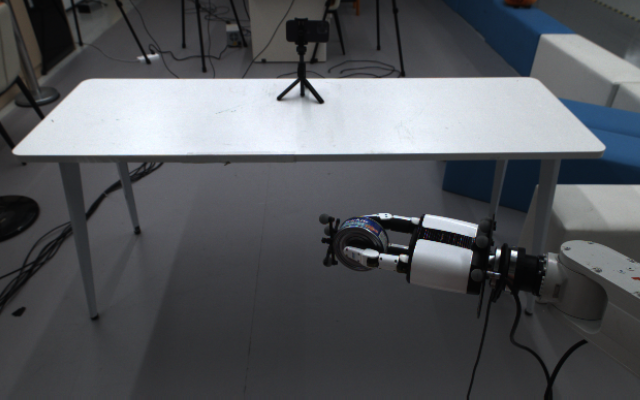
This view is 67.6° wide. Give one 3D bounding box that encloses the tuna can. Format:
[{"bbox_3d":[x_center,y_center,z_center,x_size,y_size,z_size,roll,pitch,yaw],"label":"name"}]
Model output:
[{"bbox_3d":[0.067,0.072,0.770,0.085,0.085,0.034,12,28,14],"label":"tuna can"}]
